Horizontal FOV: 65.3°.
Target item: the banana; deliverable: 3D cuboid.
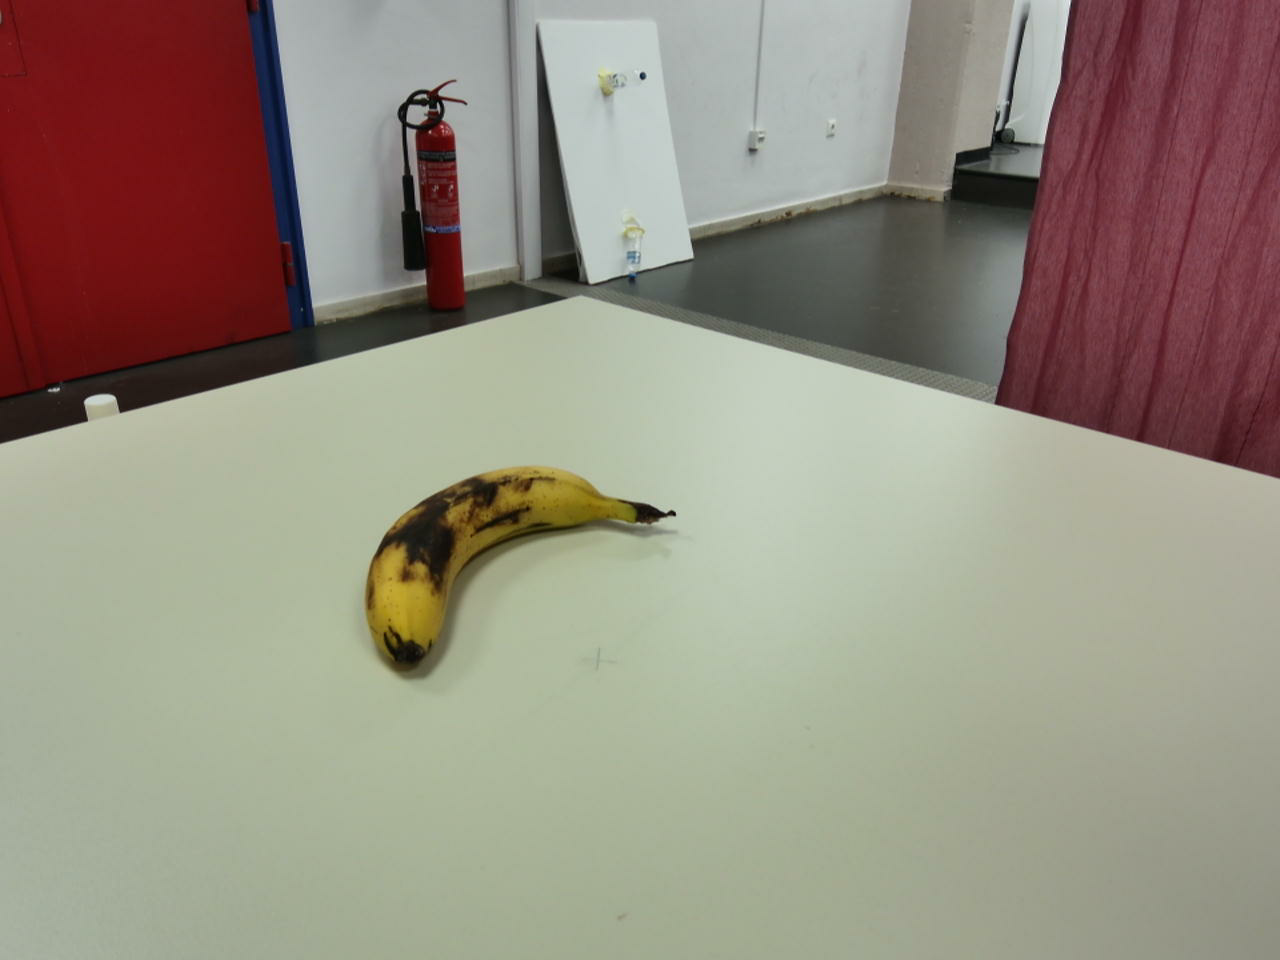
[{"bbox_3d":[-0.076,0.030,0.515,0.094,0.039,0.187,19,30,35],"label":"banana"}]
